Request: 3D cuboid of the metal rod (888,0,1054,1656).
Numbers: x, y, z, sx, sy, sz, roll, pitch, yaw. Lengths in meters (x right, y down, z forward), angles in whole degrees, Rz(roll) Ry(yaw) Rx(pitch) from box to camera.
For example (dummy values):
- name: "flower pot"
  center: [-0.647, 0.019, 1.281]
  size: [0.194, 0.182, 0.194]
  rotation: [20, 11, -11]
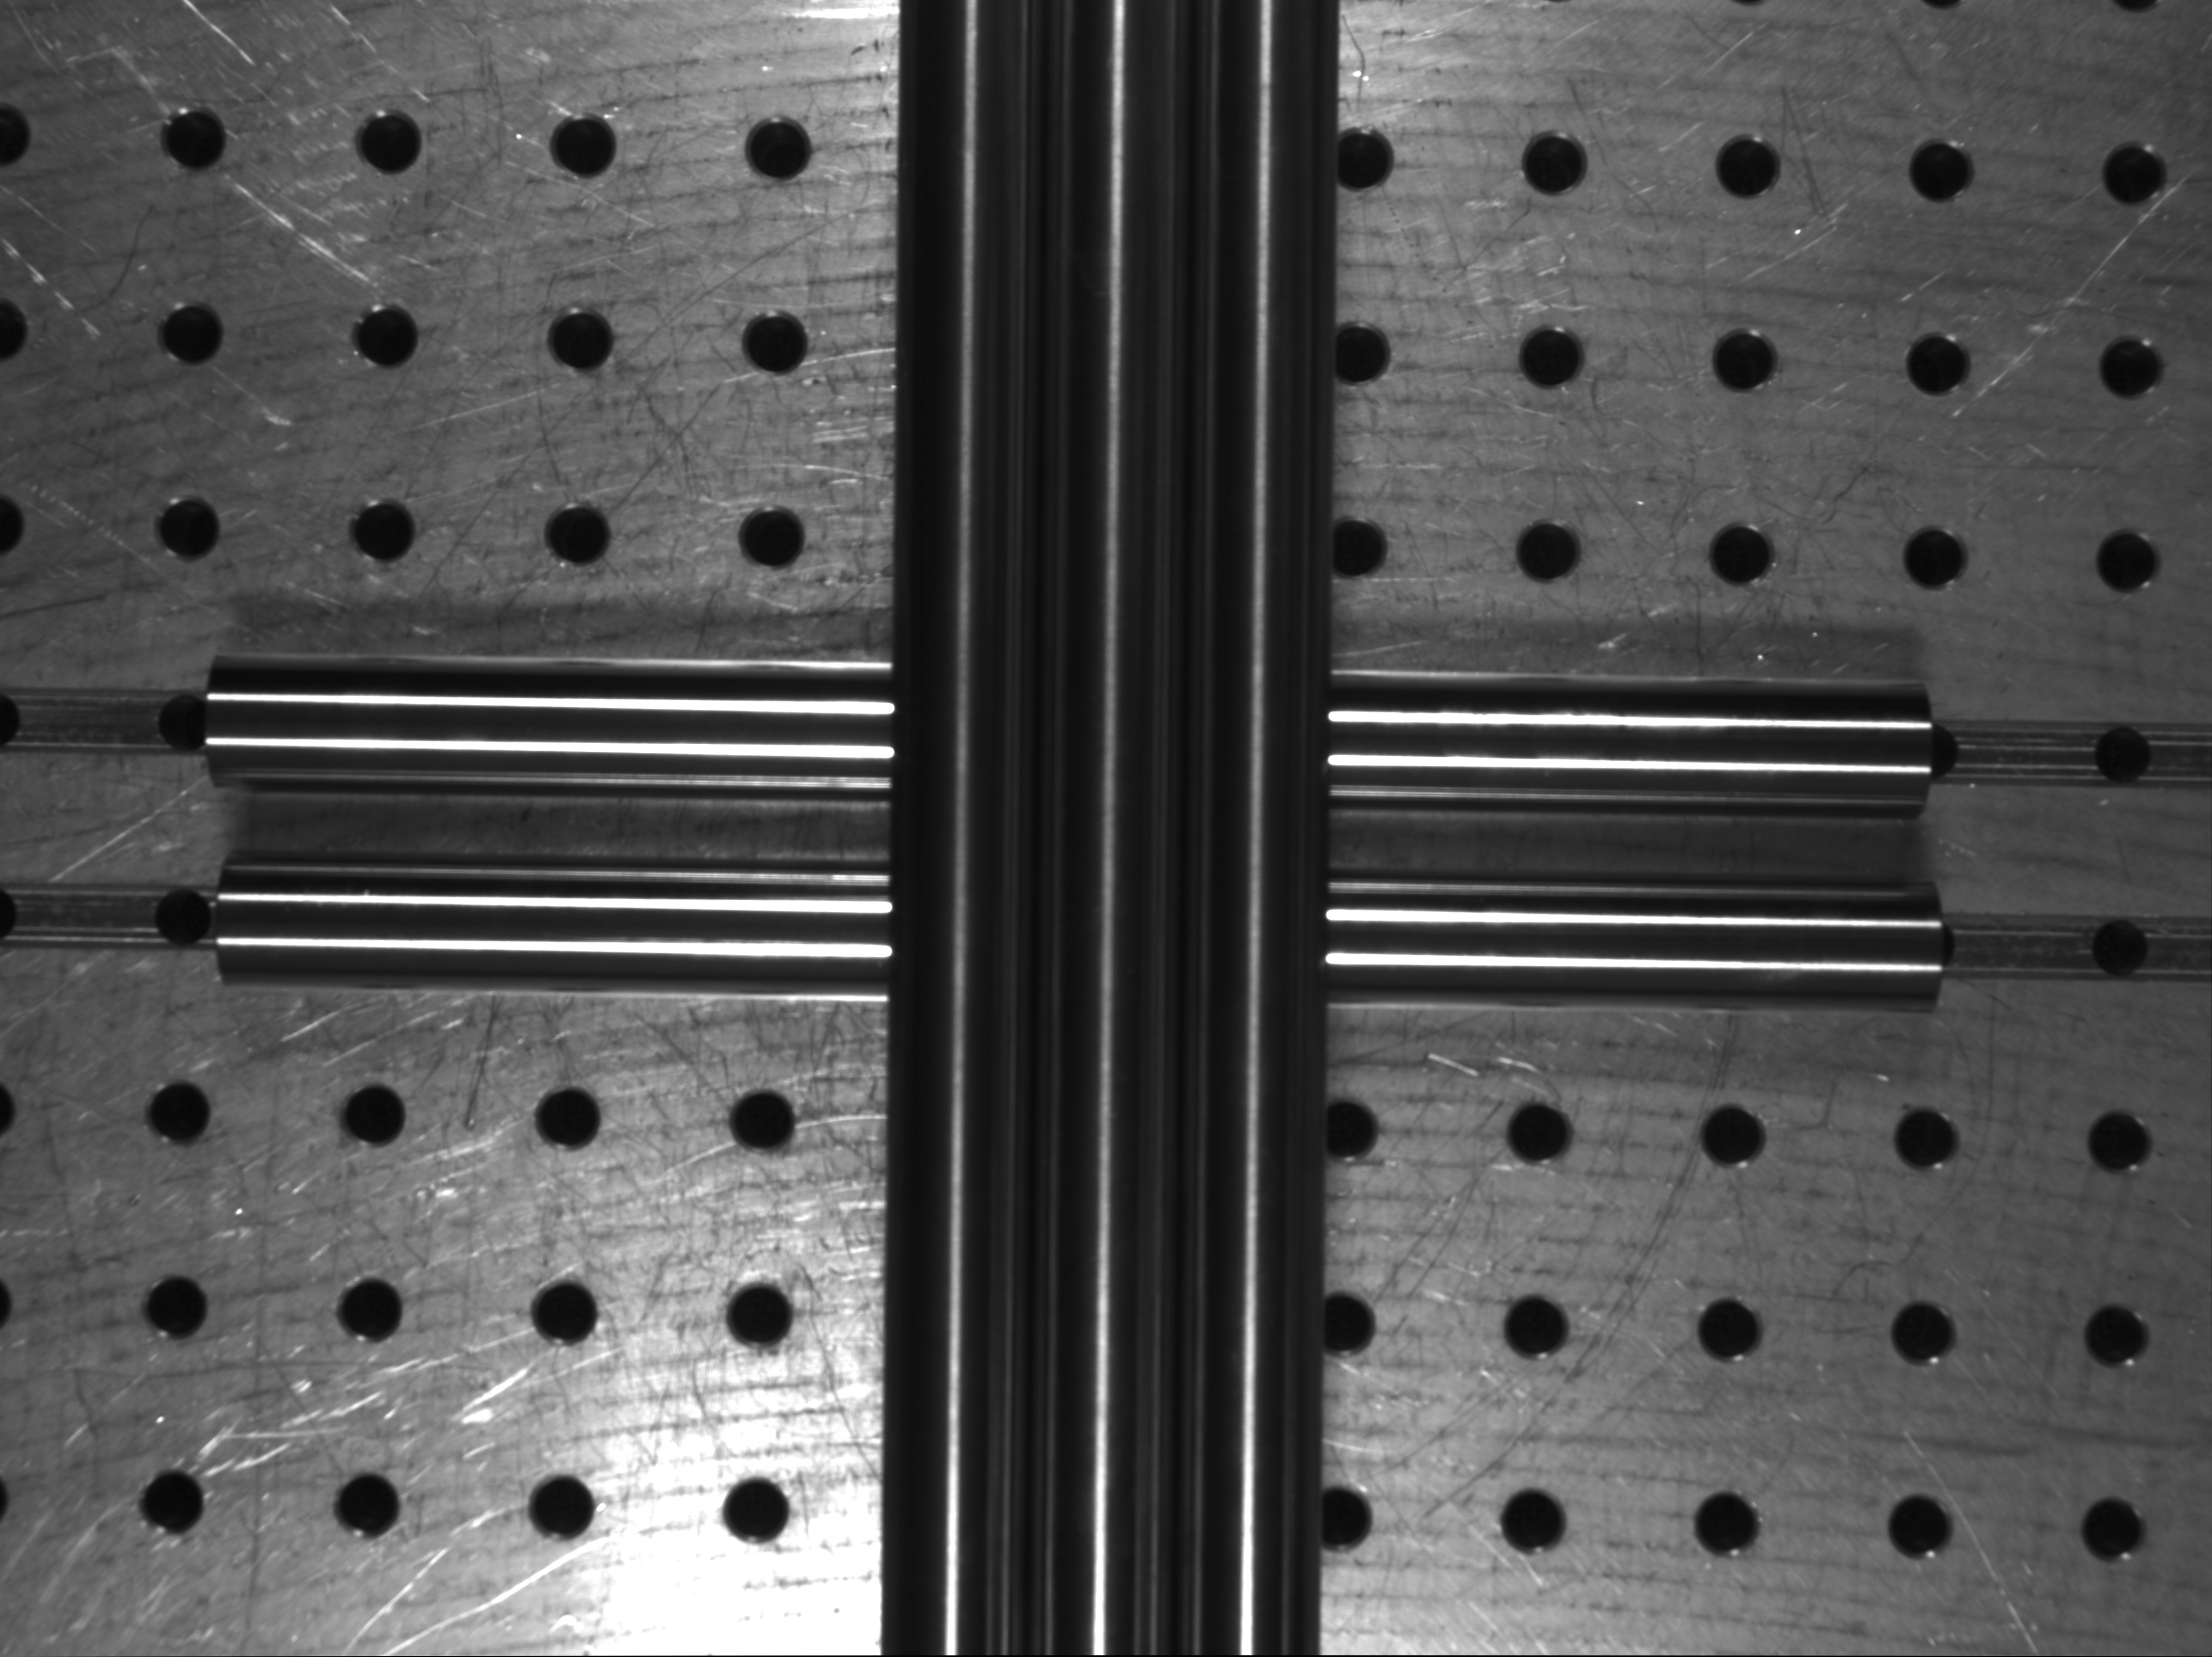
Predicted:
- name: "metal rod"
  center: [-0.023, 0.003, 0.622]
  size: [0.025, 0.025, 0.300]
  rotation: [1, 90, 0]

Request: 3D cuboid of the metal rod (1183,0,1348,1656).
- name: "metal rod"
  center: [0.027, 0.001, 0.623]
  size: [0.025, 0.025, 0.300]
  rotation: [1, 90, 0]

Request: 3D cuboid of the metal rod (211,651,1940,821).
- name: "metal rod"
  center: [-0.005, -0.016, 0.648]
  size: [0.300, 0.025, 0.025]
  rotation: [1, 90, -1]

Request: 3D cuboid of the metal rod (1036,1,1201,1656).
- name: "metal rod"
  center: [0.002, 0.002, 0.623]
  size: [0.025, 0.025, 0.300]
  rotation: [1, 90, 0]

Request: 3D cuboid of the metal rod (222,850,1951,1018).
- name: "metal rod"
  center: [-0.003, 0.019, 0.648]
  size: [0.300, 0.025, 0.025]
  rotation: [1, 90, -1]
